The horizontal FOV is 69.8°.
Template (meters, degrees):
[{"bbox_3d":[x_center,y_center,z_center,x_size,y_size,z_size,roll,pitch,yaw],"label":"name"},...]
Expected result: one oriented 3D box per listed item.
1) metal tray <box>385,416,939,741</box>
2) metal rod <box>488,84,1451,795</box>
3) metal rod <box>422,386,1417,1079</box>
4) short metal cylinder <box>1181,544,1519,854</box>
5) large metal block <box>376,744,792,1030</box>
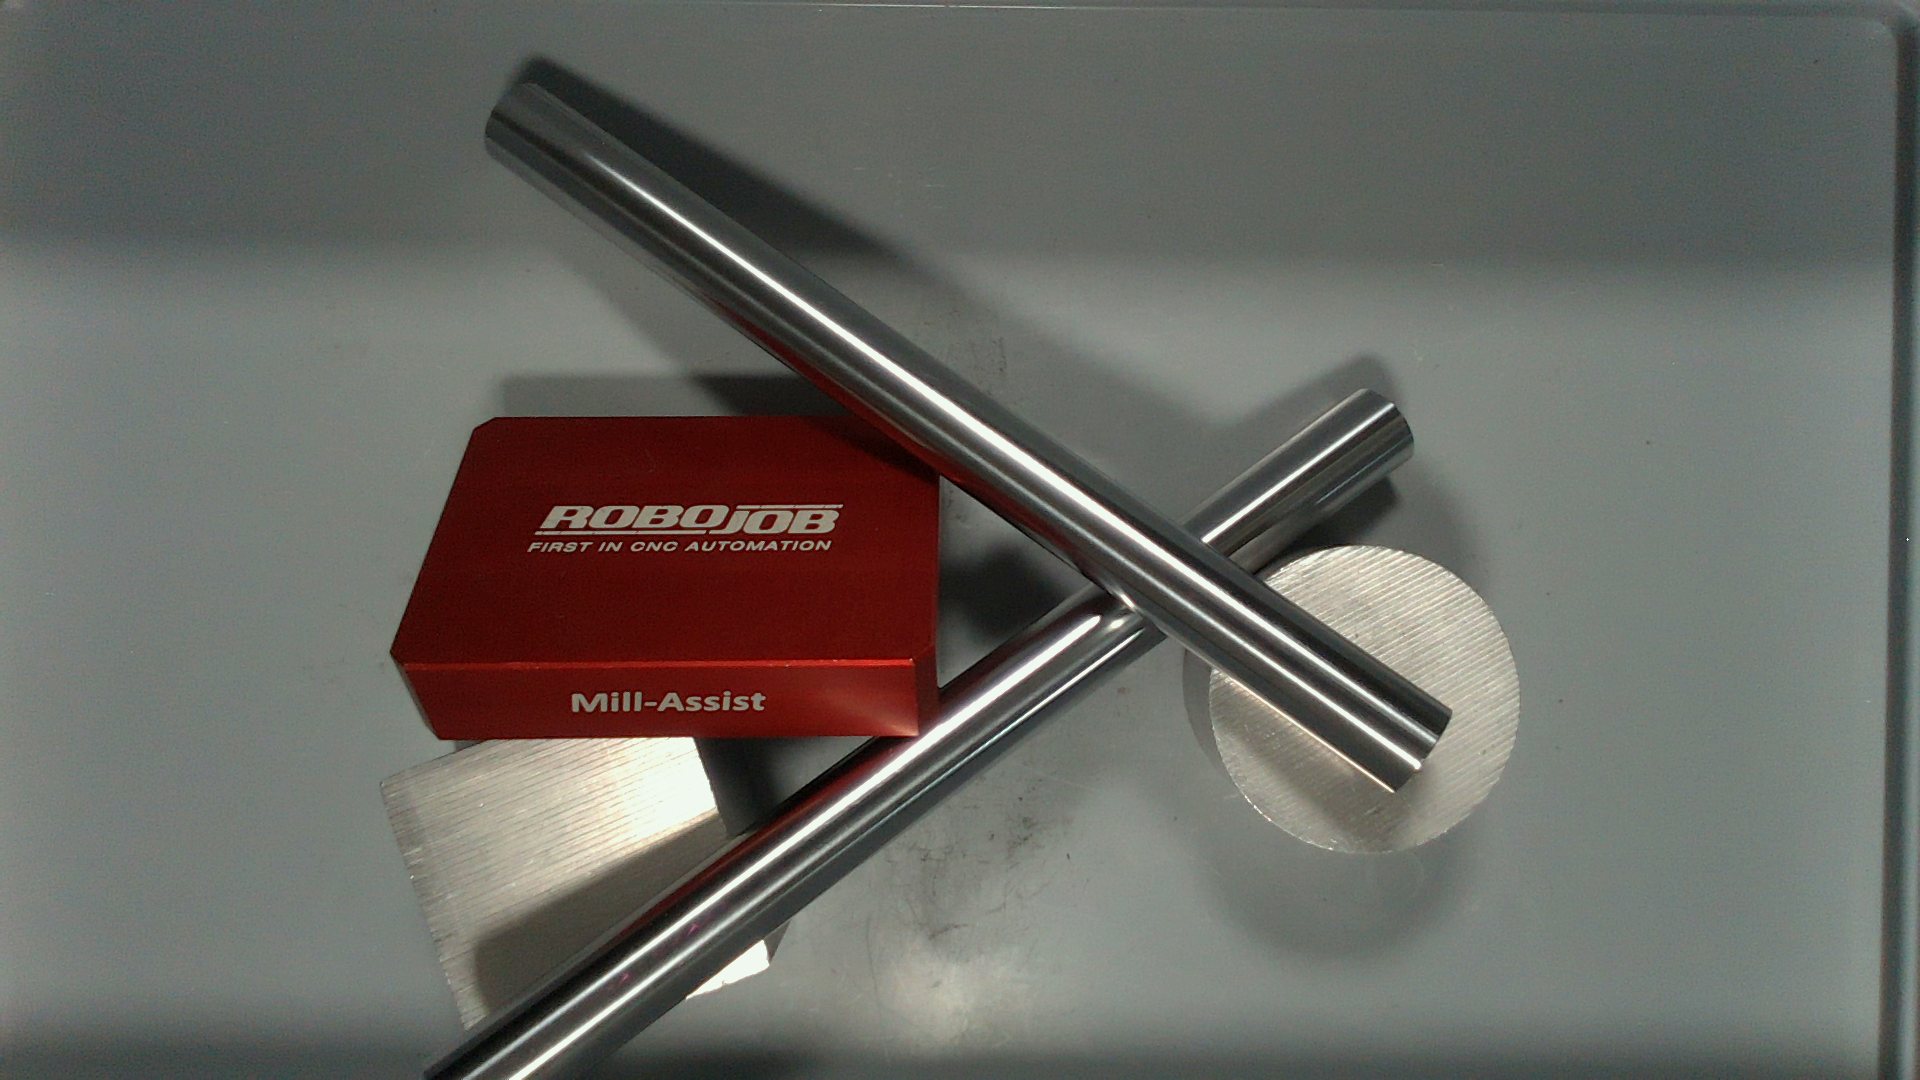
[{"bbox_3d":[-0.071,0.008,0.364,0.130,0.030,0.090,0,46,1],"label":"metal tray"},{"bbox_3d":[-0.007,-0.034,0.365,0.300,0.025,0.025,36,90,12],"label":"metal rod"},{"bbox_3d":[0.001,0.050,0.358,0.300,0.025,0.025,-35,90,-14],"label":"metal rod"},{"bbox_3d":[0.105,0.041,0.381,0.080,0.050,0.080,0,90,0],"label":"short metal cylinder"},{"bbox_3d":[-0.099,0.087,0.379,0.080,0.050,0.080,-19,90,0],"label":"large metal block"}]
